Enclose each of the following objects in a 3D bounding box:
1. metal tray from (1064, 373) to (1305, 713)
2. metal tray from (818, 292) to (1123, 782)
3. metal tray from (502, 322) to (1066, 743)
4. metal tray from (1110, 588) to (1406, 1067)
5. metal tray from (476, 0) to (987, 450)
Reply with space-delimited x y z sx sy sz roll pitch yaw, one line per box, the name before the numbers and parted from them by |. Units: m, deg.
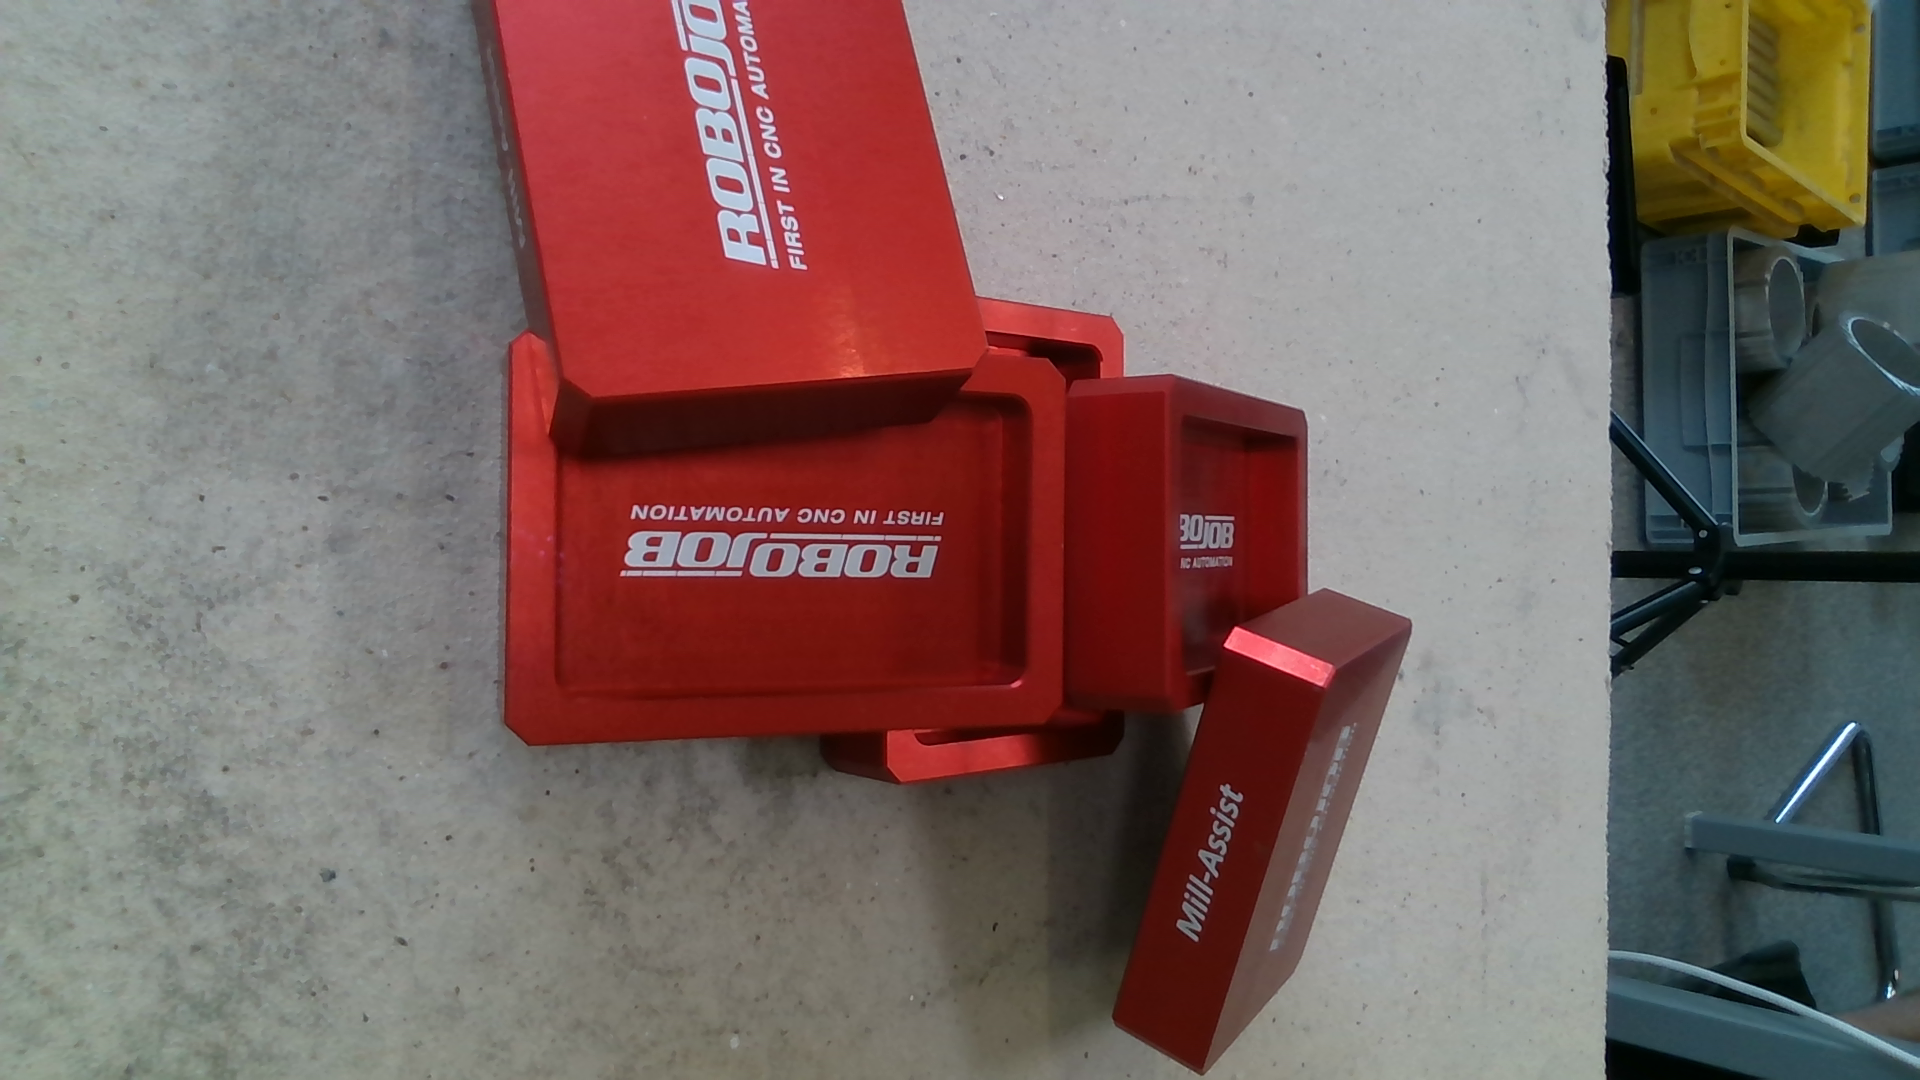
metal tray | 0.073 0.001 0.423 0.130 0.030 0.090 -1 91 -60
metal tray | 0.005 -0.002 0.393 0.090 0.030 0.130 0 90 -40
metal tray | -0.040 -0.001 0.328 0.130 0.030 0.090 1 89 -21
metal tray | 0.094 0.084 0.426 0.090 0.030 0.130 -12 120 -58
metal tray | -0.053 -0.090 0.304 0.090 0.030 0.130 -8 77 -24
